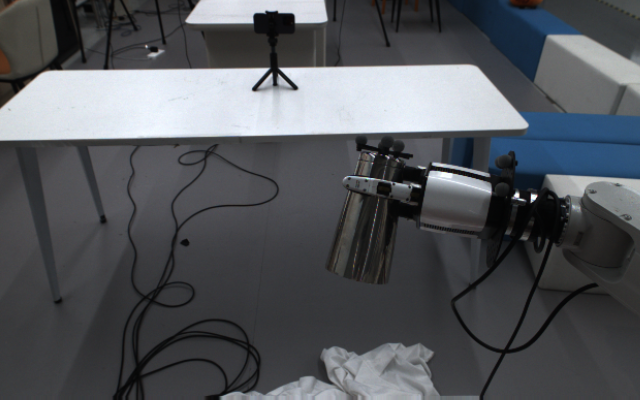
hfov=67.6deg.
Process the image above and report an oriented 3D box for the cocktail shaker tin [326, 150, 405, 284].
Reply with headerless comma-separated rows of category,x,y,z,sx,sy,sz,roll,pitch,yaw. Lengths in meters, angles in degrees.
cocktail shaker tin,0.072,0.020,0.685,0.093,0.170,0.093,12,3,-1
